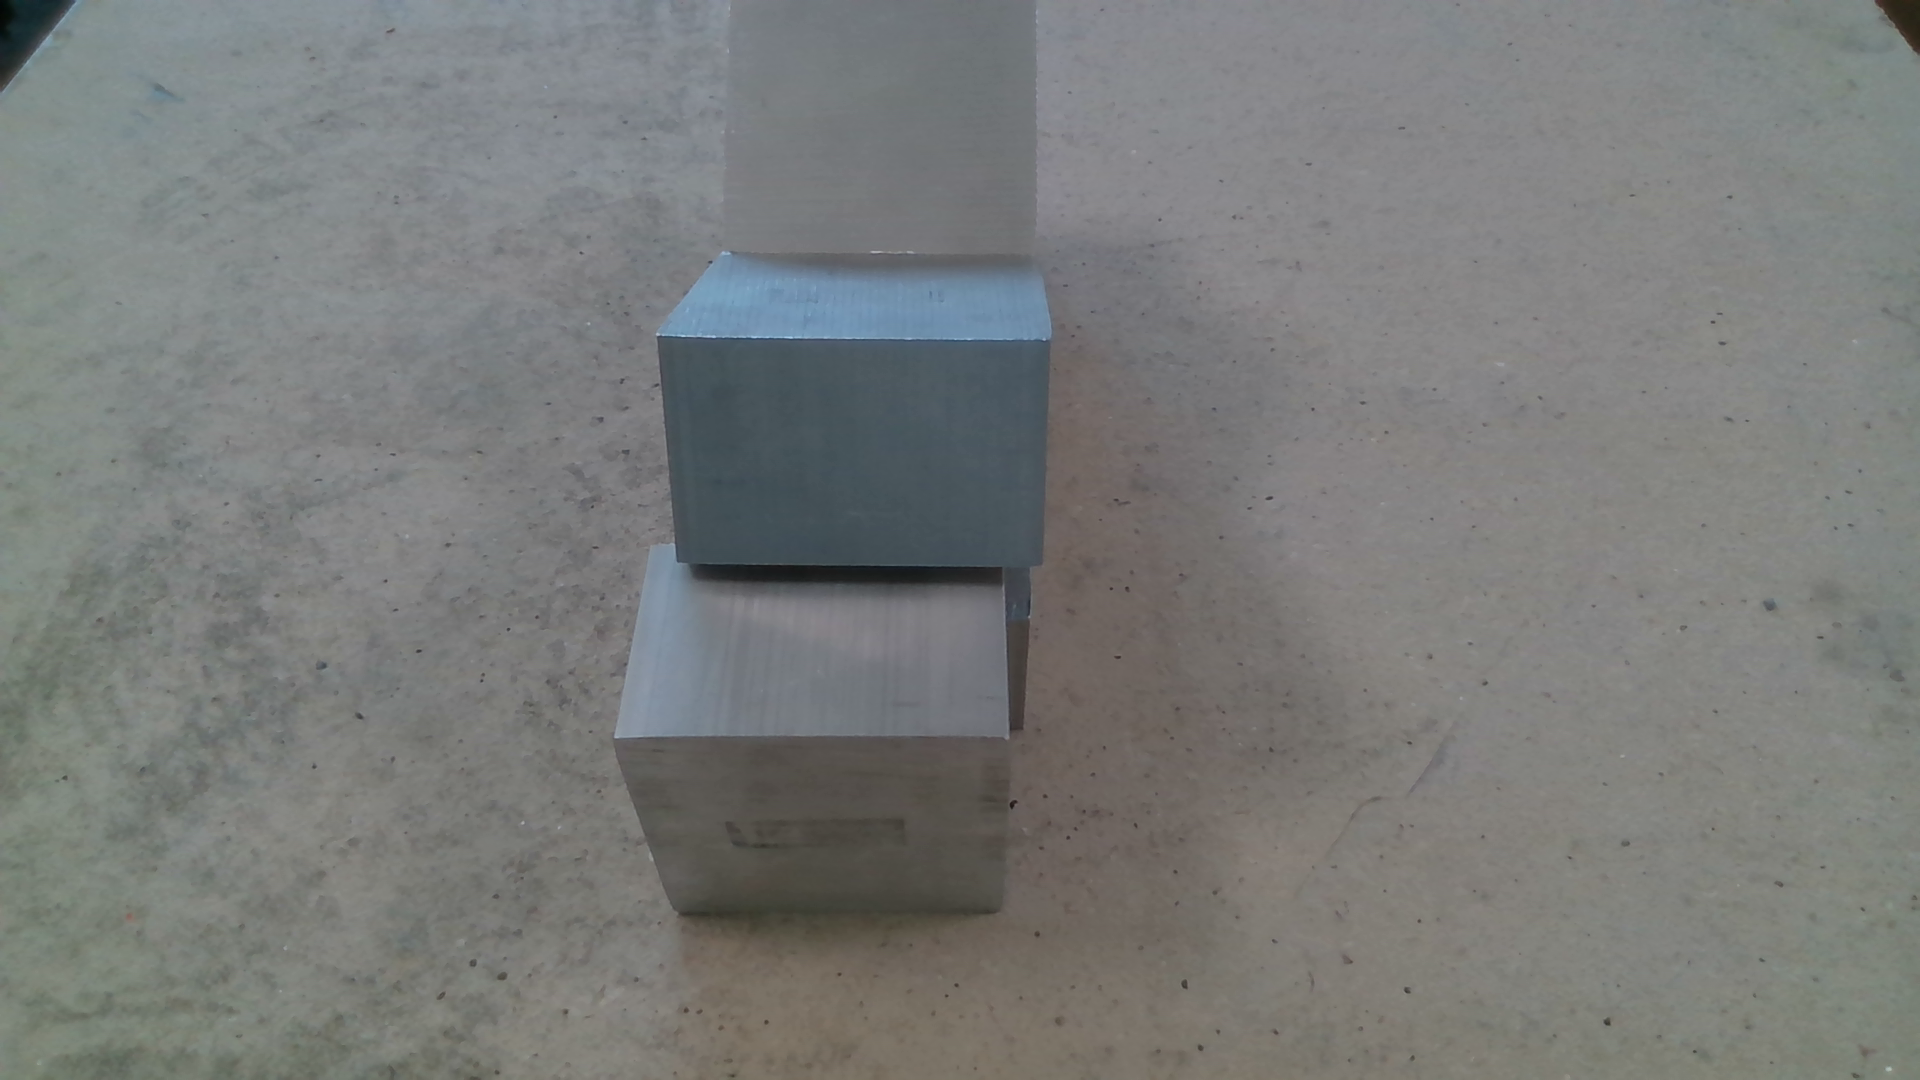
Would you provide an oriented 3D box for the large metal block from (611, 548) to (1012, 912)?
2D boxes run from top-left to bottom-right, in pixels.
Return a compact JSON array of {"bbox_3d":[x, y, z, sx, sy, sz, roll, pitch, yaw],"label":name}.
[{"bbox_3d":[-0.030,0.046,0.321,0.080,0.080,0.050,0,51,0],"label":"large metal block"}]

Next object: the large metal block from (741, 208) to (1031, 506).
[{"bbox_3d":[-0.020,-0.057,0.425,0.080,0.050,0.080,0,50,0],"label":"large metal block"}]

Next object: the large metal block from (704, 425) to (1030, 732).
[{"bbox_3d":[-0.023,0.004,0.373,0.080,0.050,0.080,0,50,0],"label":"large metal block"}]

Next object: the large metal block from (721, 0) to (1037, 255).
[{"bbox_3d":[-0.020,-0.106,0.380,0.080,0.050,0.080,0,79,0],"label":"large metal block"}]

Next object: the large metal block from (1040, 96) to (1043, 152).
[{"bbox_3d":[-0.016,-0.118,0.456,0.080,0.080,0.050,0,50,-1],"label":"large metal block"}]

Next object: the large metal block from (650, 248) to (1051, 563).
[{"bbox_3d":[-0.022,-0.034,0.321,0.080,0.050,0.080,1,23,0],"label":"large metal block"}]
